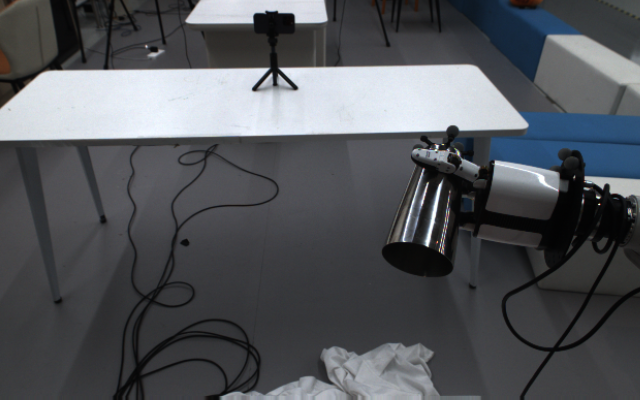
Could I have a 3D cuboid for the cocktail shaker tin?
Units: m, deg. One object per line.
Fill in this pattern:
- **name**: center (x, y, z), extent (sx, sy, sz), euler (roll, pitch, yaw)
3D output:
- **cocktail shaker tin**: center (0.150, 0.005, 0.661), extent (0.093, 0.093, 0.170), euler (13, 59, 16)
